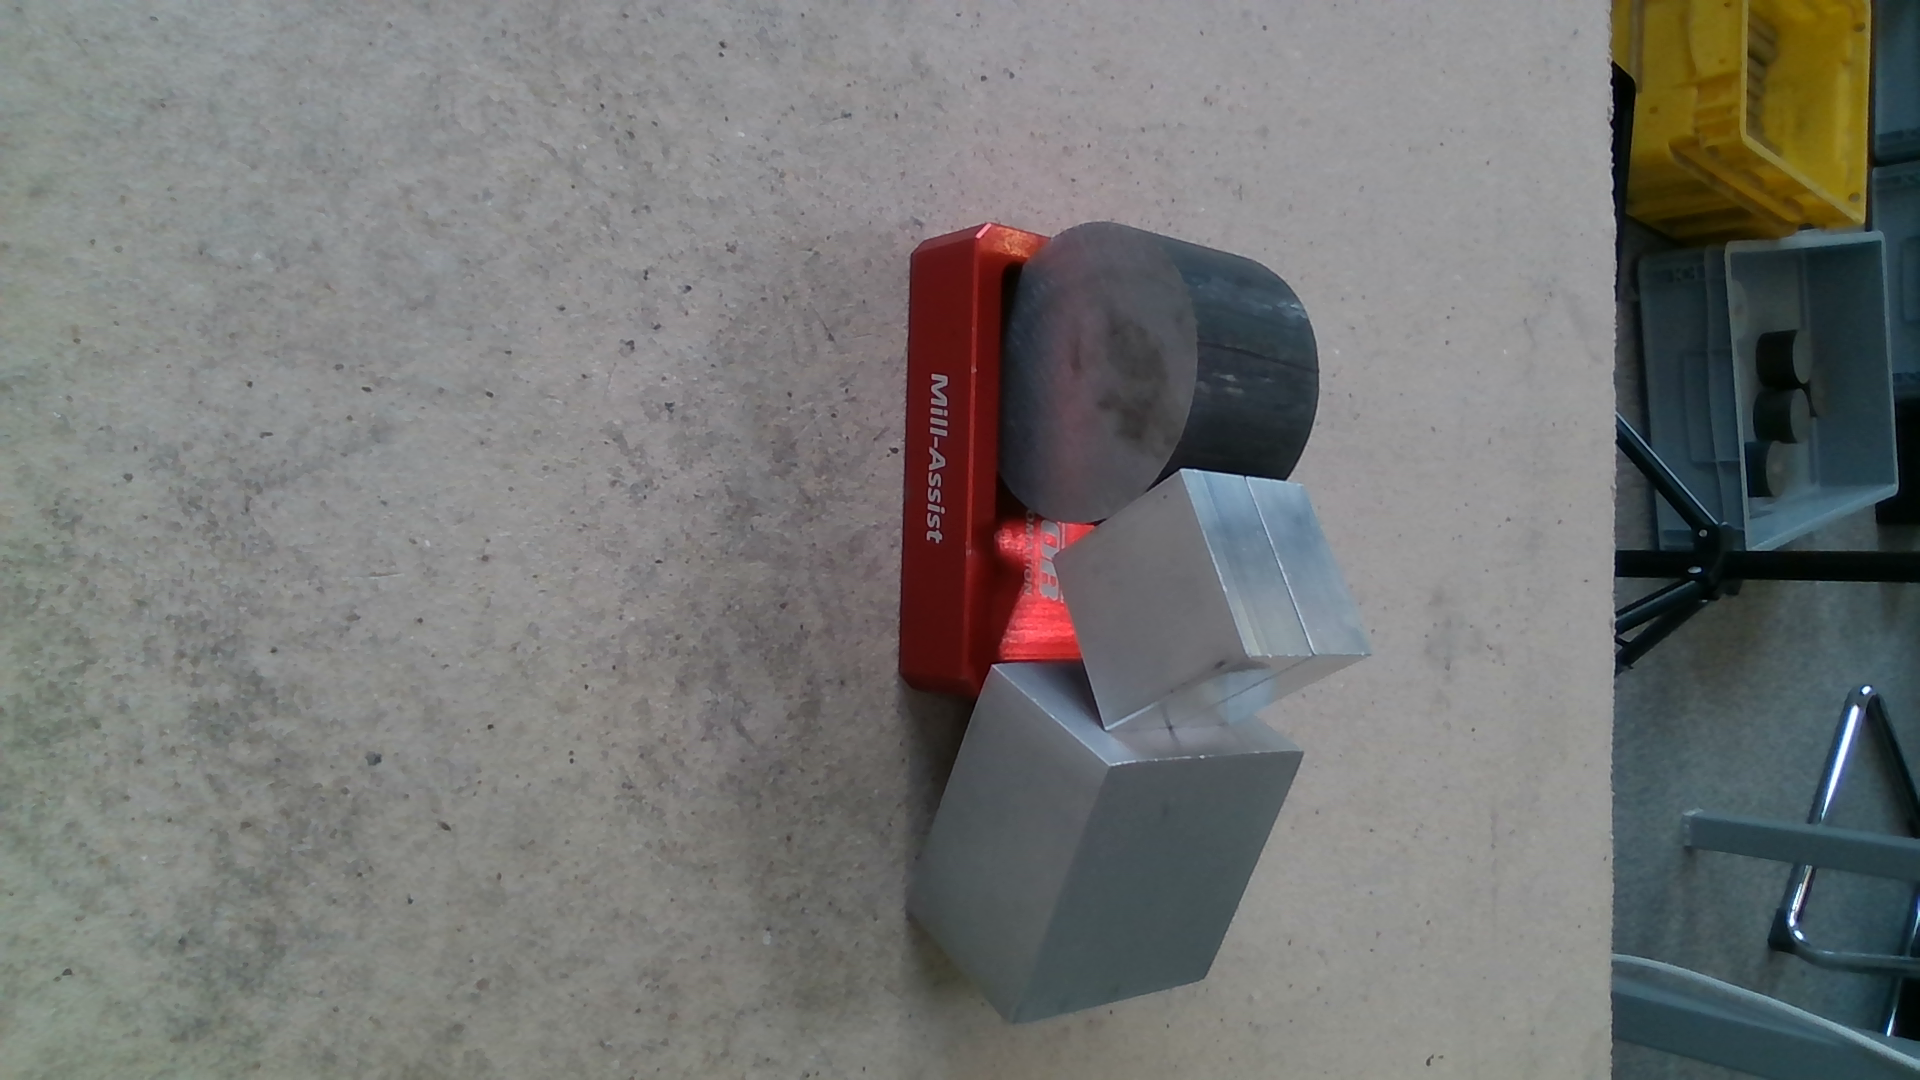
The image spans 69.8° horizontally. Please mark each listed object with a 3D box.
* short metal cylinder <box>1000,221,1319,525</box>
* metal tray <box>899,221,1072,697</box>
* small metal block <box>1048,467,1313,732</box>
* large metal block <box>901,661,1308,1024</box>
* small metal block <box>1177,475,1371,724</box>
[{"bbox_3d":[0.051,-0.044,0.381,0.050,0.080,0.080,1,89,-40],"label":"short metal cylinder"},{"bbox_3d":[0.028,-0.021,0.411,0.090,0.030,0.130,3,88,-40],"label":"metal tray"},{"bbox_3d":[0.055,0.016,0.352,0.025,0.050,0.050,3,62,-42],"label":"small metal block"},{"bbox_3d":[0.040,0.082,0.390,0.080,0.050,0.080,4,113,-40],"label":"large metal block"},{"bbox_3d":[0.074,0.017,0.369,0.025,0.050,0.050,3,62,-42],"label":"small metal block"}]
